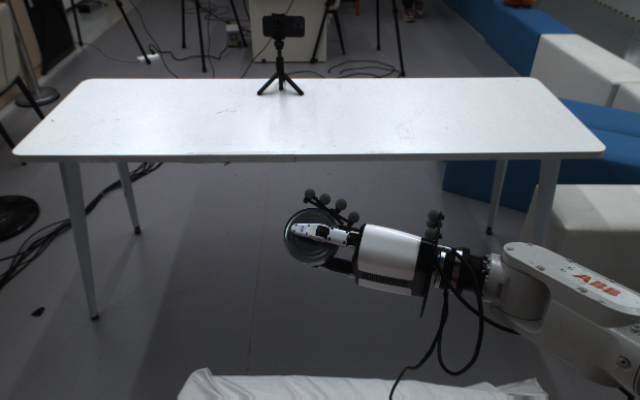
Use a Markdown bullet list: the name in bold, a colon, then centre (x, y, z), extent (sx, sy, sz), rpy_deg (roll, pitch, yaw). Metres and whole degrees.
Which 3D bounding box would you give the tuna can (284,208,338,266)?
- **tuna can**: centre (-0.011, 0.057, 0.744), extent (0.085, 0.034, 0.085), rpy_deg (-2, 71, 6)
